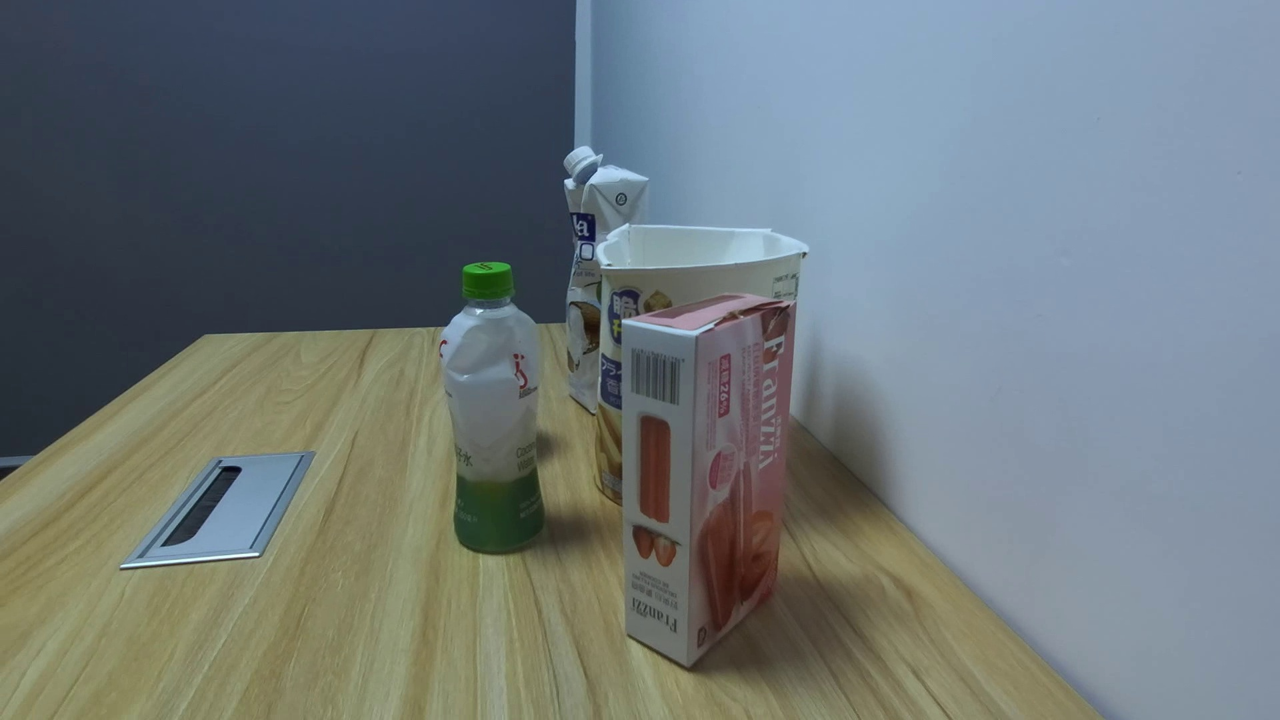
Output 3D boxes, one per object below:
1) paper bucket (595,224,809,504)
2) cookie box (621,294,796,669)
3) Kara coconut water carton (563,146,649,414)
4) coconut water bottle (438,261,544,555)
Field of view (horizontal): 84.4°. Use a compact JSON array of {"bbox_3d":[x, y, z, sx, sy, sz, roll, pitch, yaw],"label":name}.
[{"bbox_3d":[0.042,0.002,0.553,0.146,0.197,0.202,2,18,-1],"label":"paper bucket"},{"bbox_3d":[0.042,0.058,0.392,0.048,0.187,0.105,15,24,37],"label":"cookie box"},{"bbox_3d":[-0.034,-0.075,0.691,0.078,0.255,0.083,-5,15,-14],"label":"Kara coconut water carton"},{"bbox_3d":[-0.095,0.031,0.472,0.069,0.186,0.069,2,17,0],"label":"coconut water bottle"}]
